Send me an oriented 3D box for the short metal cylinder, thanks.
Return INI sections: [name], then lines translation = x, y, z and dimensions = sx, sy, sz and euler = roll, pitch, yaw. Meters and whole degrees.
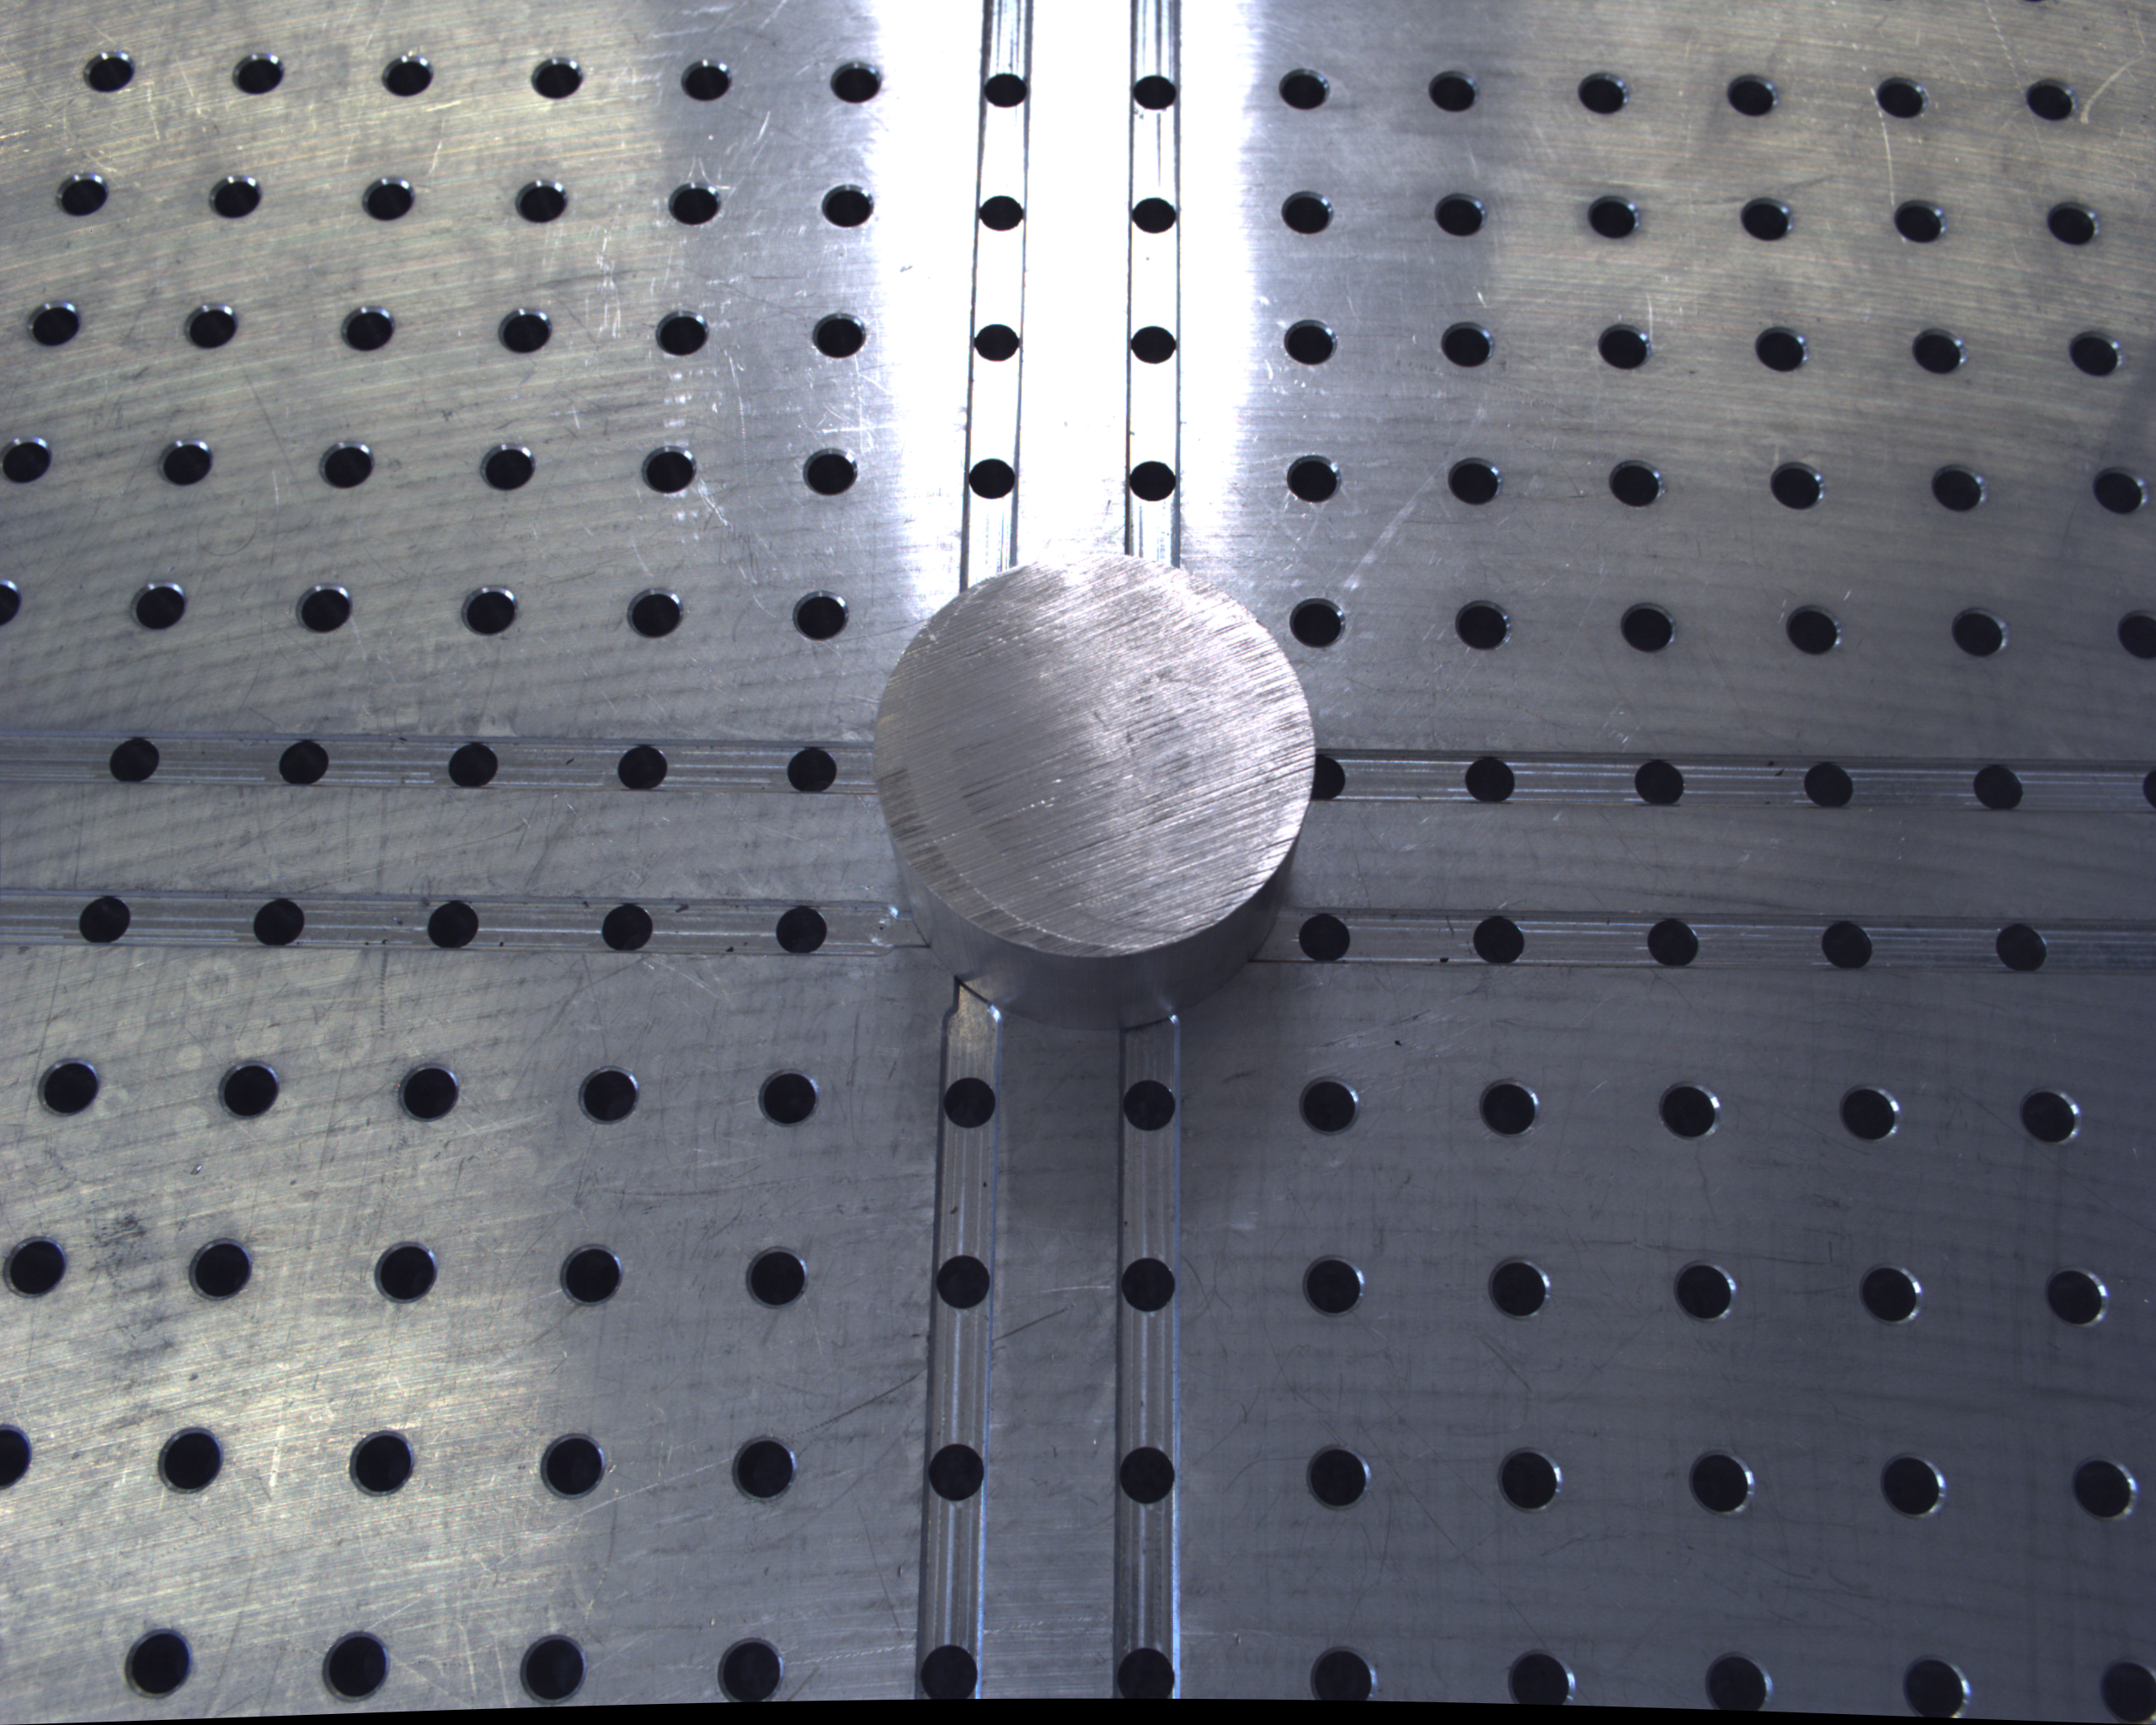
[short metal cylinder]
translation = 0.003, -0.012, 0.403
dimensions = 0.080, 0.050, 0.080
euler = 0, 70, 0
